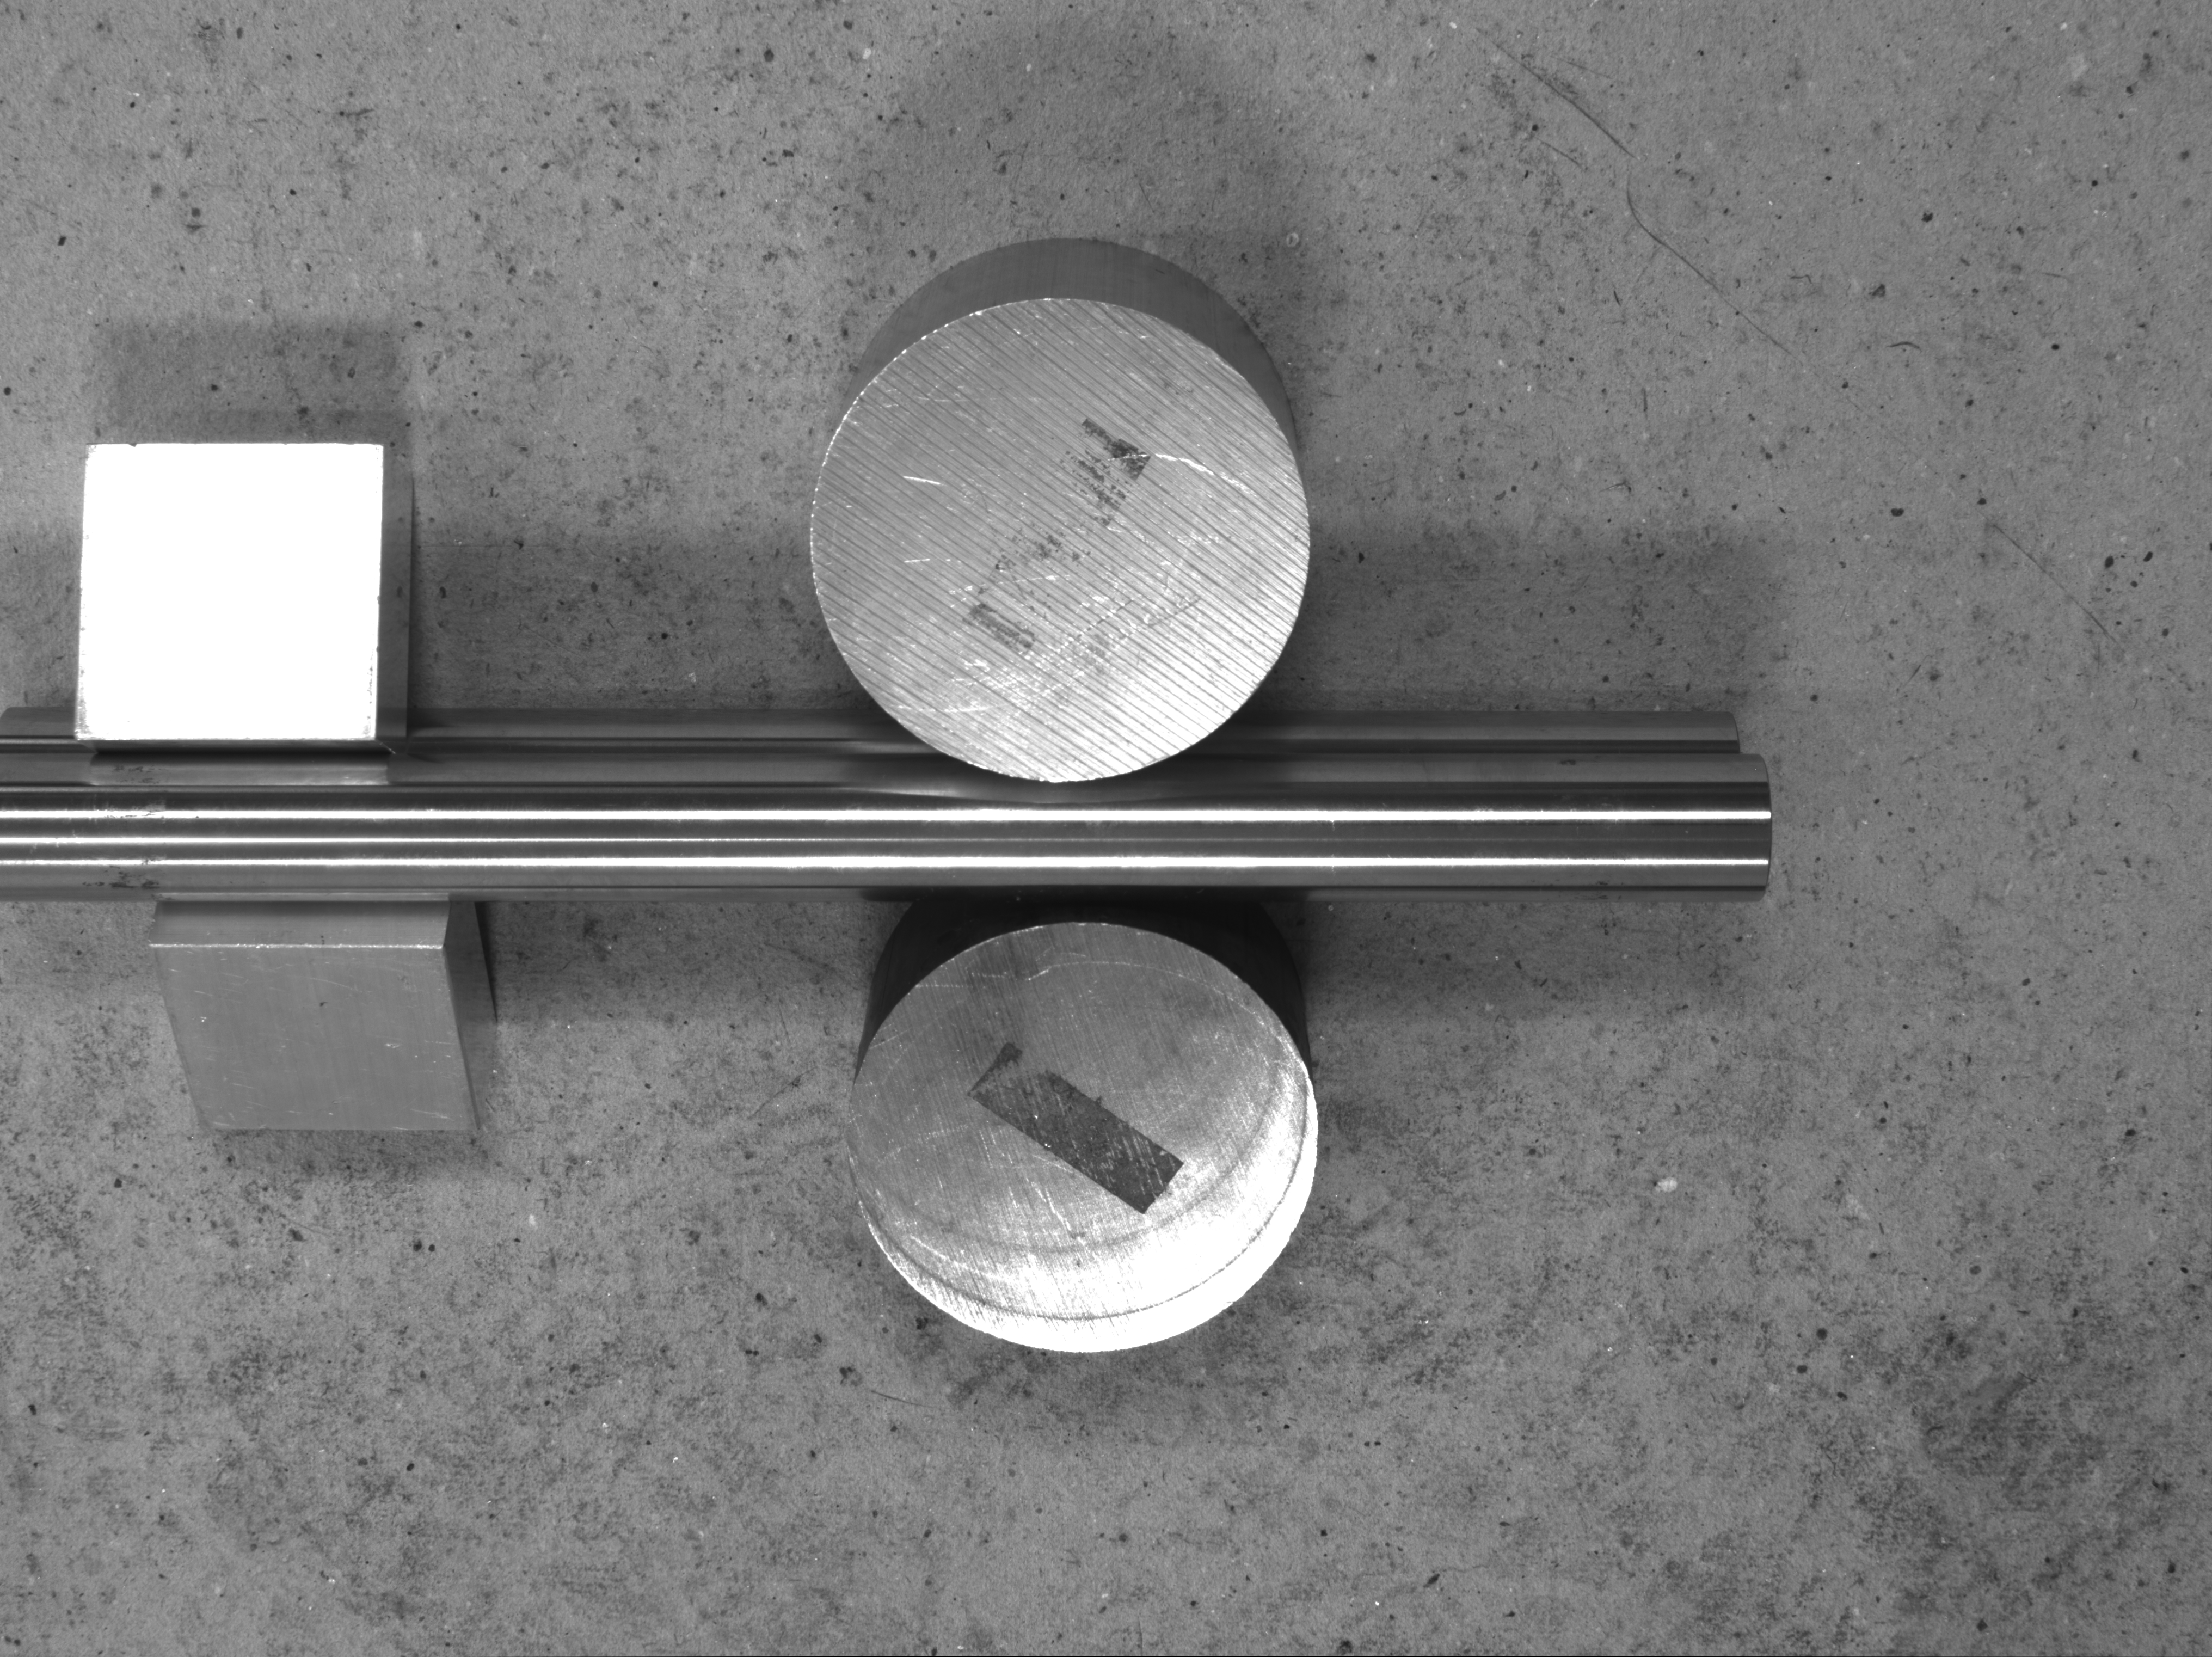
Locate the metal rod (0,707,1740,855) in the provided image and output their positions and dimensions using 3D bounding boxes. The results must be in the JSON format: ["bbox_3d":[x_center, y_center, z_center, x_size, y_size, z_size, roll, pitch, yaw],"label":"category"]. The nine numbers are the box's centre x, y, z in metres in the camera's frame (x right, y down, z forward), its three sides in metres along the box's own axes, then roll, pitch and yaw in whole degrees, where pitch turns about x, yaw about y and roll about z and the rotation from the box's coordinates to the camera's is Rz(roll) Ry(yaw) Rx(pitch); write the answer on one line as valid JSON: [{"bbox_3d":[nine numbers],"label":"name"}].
[{"bbox_3d":[-0.041,-0.008,0.641,0.300,0.025,0.025,0,110,0],"label":"metal rod"}]

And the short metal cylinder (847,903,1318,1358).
[{"bbox_3d":[-0.004,0.046,0.648,0.080,0.050,0.080,0,110,0],"label":"short metal cylinder"}]

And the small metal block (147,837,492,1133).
[{"bbox_3d":[-0.136,0.028,0.644,0.050,0.025,0.050,0,137,-1],"label":"small metal block"}]

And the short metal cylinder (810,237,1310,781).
[{"bbox_3d":[-0.007,-0.054,0.611,0.080,0.050,0.080,0,110,0],"label":"short metal cylinder"}]

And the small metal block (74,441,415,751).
[{"bbox_3d":[-0.145,-0.038,0.620,0.050,0.025,0.050,0,83,0],"label":"small metal block"}]

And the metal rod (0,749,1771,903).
[{"bbox_3d":[-0.040,0.000,0.618,0.300,0.025,0.025,0,110,0],"label":"metal rod"}]
